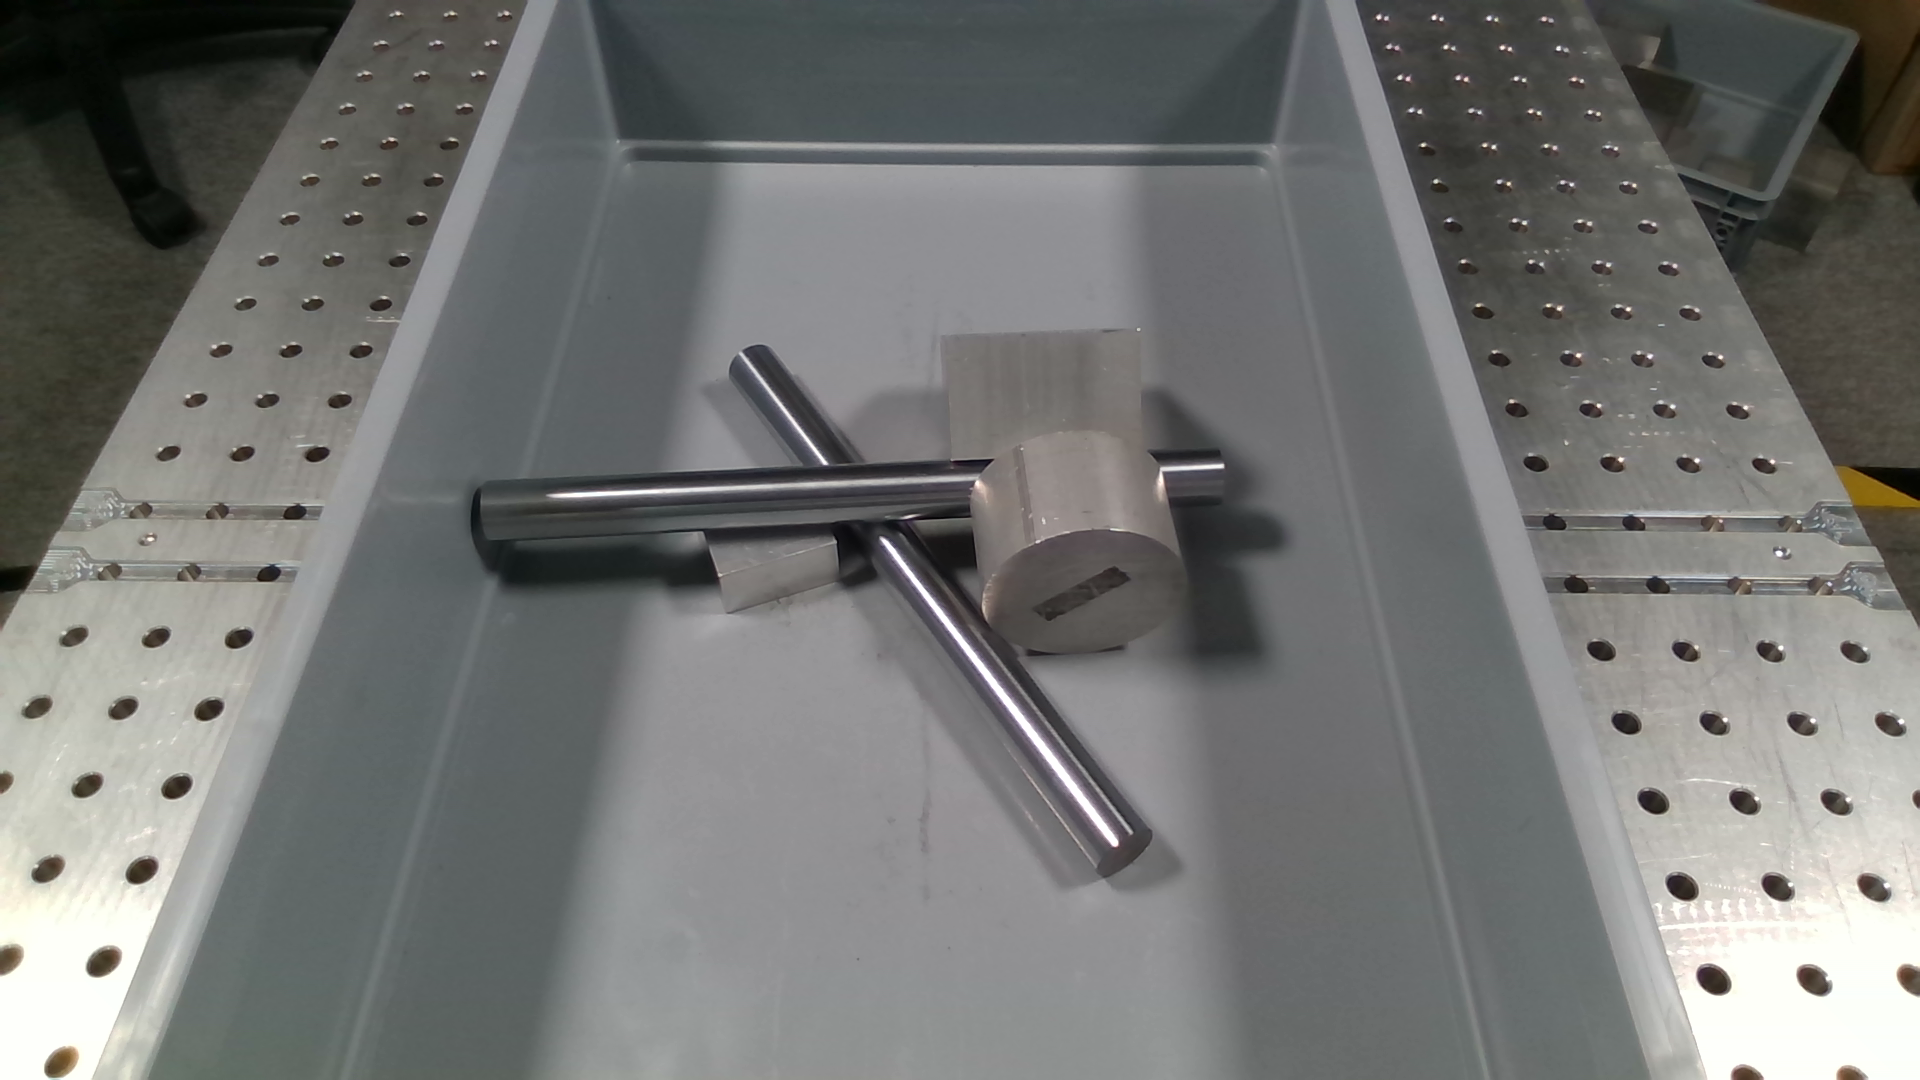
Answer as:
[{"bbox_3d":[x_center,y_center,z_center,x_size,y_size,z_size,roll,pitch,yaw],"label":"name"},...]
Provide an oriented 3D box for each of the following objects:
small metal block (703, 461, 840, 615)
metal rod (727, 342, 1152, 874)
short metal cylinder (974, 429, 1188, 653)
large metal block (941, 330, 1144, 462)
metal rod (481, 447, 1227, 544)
[{"bbox_3d":[-0.084,-0.002,0.587,0.050,0.025,0.050,-17,52,-13],"label":"small metal block"},{"bbox_3d":[-0.020,0.014,0.574,0.025,0.025,0.299,-26,55,-20],"label":"metal rod"},{"bbox_3d":[0.046,0.002,0.547,0.080,0.080,0.050,-3,51,-3],"label":"short metal cylinder"},{"bbox_3d":[0.033,-0.065,0.598,0.080,0.050,0.080,-3,10,-2],"label":"large metal block"},{"bbox_3d":[-0.041,-0.019,0.567,0.300,0.025,0.025,-3,50,-4],"label":"metal rod"}]
